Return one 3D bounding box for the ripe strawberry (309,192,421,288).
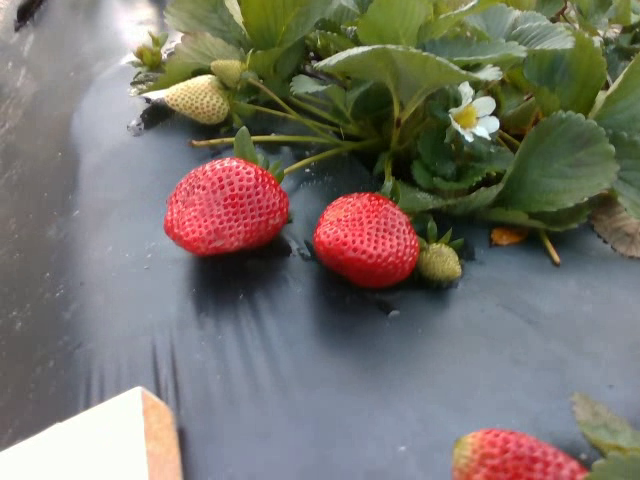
[{"bbox_3d":[0.016,-0.001,0.263,0.050,0.051,0.059,-16,-5,28],"label":"ripe strawberry"}]

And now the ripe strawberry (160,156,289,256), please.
[{"bbox_3d":[-0.048,-0.012,0.276,0.058,0.044,0.065,-11,29,32],"label":"ripe strawberry"}]
